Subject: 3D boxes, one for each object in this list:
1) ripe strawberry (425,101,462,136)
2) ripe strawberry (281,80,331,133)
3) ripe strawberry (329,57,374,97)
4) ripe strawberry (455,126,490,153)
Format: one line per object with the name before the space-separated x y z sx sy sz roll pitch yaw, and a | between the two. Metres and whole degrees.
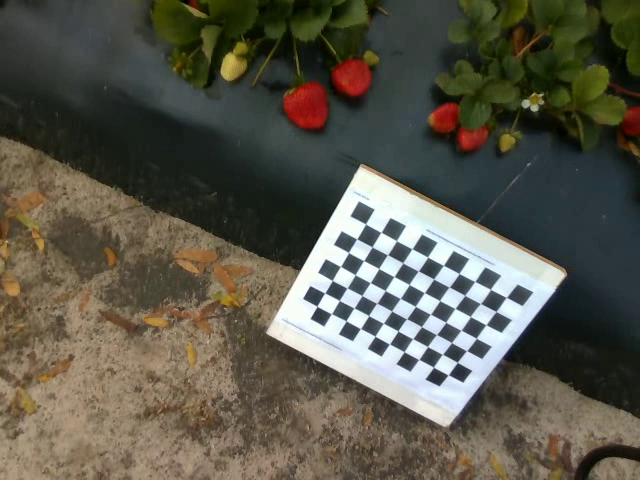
ripe strawberry | 0.144 -0.155 0.624 0.053 0.047 0.039 -7 29 -20
ripe strawberry | -0.024 -0.168 0.625 0.058 0.065 0.043 -30 -5 26
ripe strawberry | 0.031 -0.205 0.627 0.050 0.060 0.051 -36 -39 27
ripe strawberry | 0.178 -0.128 0.614 0.043 0.049 0.041 24 -39 3
